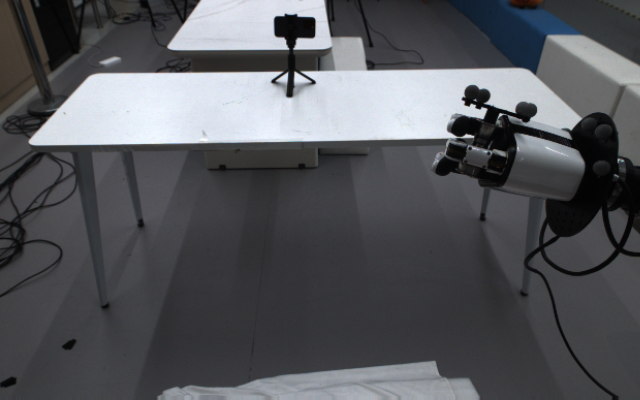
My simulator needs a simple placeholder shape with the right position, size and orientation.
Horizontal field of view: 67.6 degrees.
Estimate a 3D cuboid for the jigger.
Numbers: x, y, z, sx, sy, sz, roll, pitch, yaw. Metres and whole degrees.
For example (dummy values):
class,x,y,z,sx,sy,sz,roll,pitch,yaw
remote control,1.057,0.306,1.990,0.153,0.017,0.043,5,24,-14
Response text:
class,x,y,z,sx,sy,sz,roll,pitch,yaw
jigger,0.202,-0.066,0.613,0.043,0.071,0.043,15,17,-5
